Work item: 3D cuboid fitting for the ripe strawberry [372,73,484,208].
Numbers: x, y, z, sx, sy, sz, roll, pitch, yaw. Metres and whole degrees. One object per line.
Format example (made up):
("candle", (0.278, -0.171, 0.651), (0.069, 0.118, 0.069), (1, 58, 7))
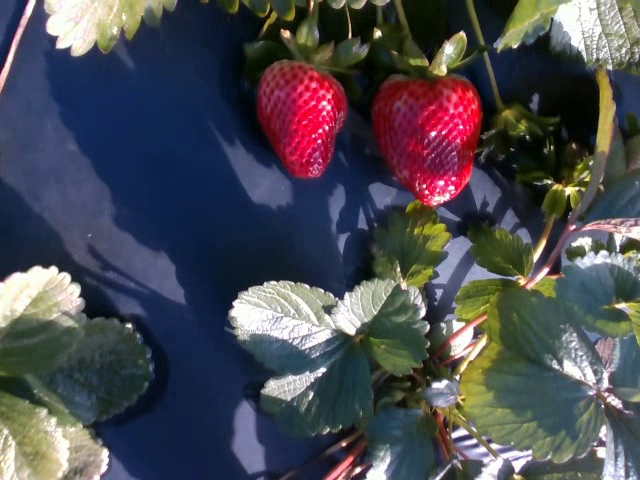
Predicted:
("ripe strawberry", (0.046, -0.039, 0.240), (0.052, 0.058, 0.046), (-6, -5, 11))

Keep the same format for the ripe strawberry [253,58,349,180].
("ripe strawberry", (-0.008, -0.044, 0.226), (0.043, 0.052, 0.036), (-12, -4, 18))
